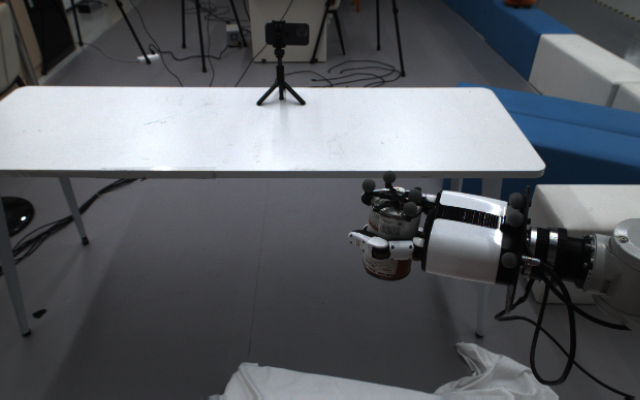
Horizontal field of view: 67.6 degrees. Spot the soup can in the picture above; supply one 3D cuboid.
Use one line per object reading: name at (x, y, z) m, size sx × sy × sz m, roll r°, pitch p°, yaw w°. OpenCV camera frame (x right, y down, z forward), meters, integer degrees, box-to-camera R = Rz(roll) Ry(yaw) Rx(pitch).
soup can at (0.097, 0.047, 0.643) m, size 0.067 × 0.101 × 0.067 m, roll 3°, pitch 30°, yaw -2°
